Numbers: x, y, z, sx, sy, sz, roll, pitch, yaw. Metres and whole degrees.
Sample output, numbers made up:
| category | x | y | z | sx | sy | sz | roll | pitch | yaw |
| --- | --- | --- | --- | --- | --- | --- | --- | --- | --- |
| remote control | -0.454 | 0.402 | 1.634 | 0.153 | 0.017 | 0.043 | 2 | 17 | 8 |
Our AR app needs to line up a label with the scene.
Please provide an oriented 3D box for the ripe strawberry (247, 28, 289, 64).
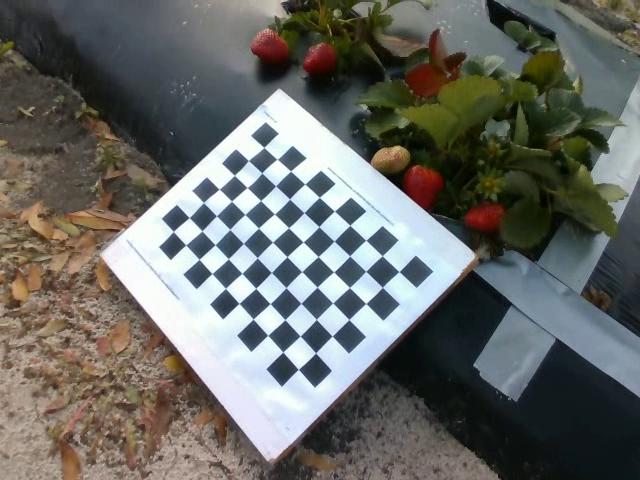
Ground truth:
| category | x | y | z | sx | sy | sz | roll | pitch | yaw |
| --- | --- | --- | --- | --- | --- | --- | --- | --- | --- |
| ripe strawberry | -0.062 | -0.247 | 0.830 | 0.050 | 0.045 | 0.061 | 31 | 40 | 25 |

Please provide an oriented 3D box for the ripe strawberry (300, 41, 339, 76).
| category | x | y | z | sx | sy | sz | roll | pitch | yaw |
| --- | --- | --- | --- | --- | --- | --- | --- | --- | --- |
| ripe strawberry | 0.001 | -0.232 | 0.818 | 0.042 | 0.034 | 0.053 | 25 | 41 | 24 |
